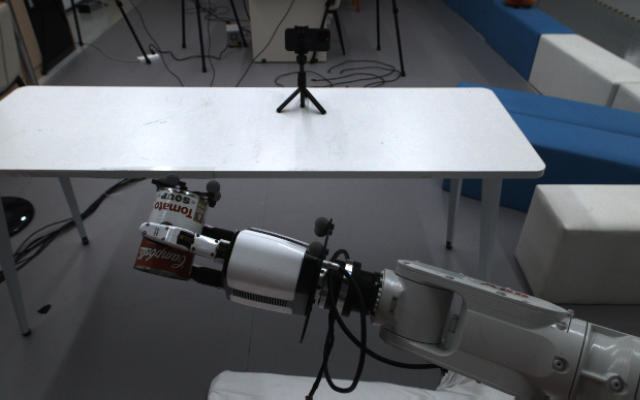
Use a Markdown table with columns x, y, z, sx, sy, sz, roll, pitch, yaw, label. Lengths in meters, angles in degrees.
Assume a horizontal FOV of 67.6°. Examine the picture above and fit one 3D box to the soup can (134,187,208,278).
| x | y | z | sx | sy | sz | roll | pitch | yaw | label |
| --- | --- | --- | --- | --- | --- | --- | --- | --- | --- |
| -0.182 | 0.045 | 0.601 | 0.067 | 0.067 | 0.101 | 8 | 74 | 9 | soup can |
